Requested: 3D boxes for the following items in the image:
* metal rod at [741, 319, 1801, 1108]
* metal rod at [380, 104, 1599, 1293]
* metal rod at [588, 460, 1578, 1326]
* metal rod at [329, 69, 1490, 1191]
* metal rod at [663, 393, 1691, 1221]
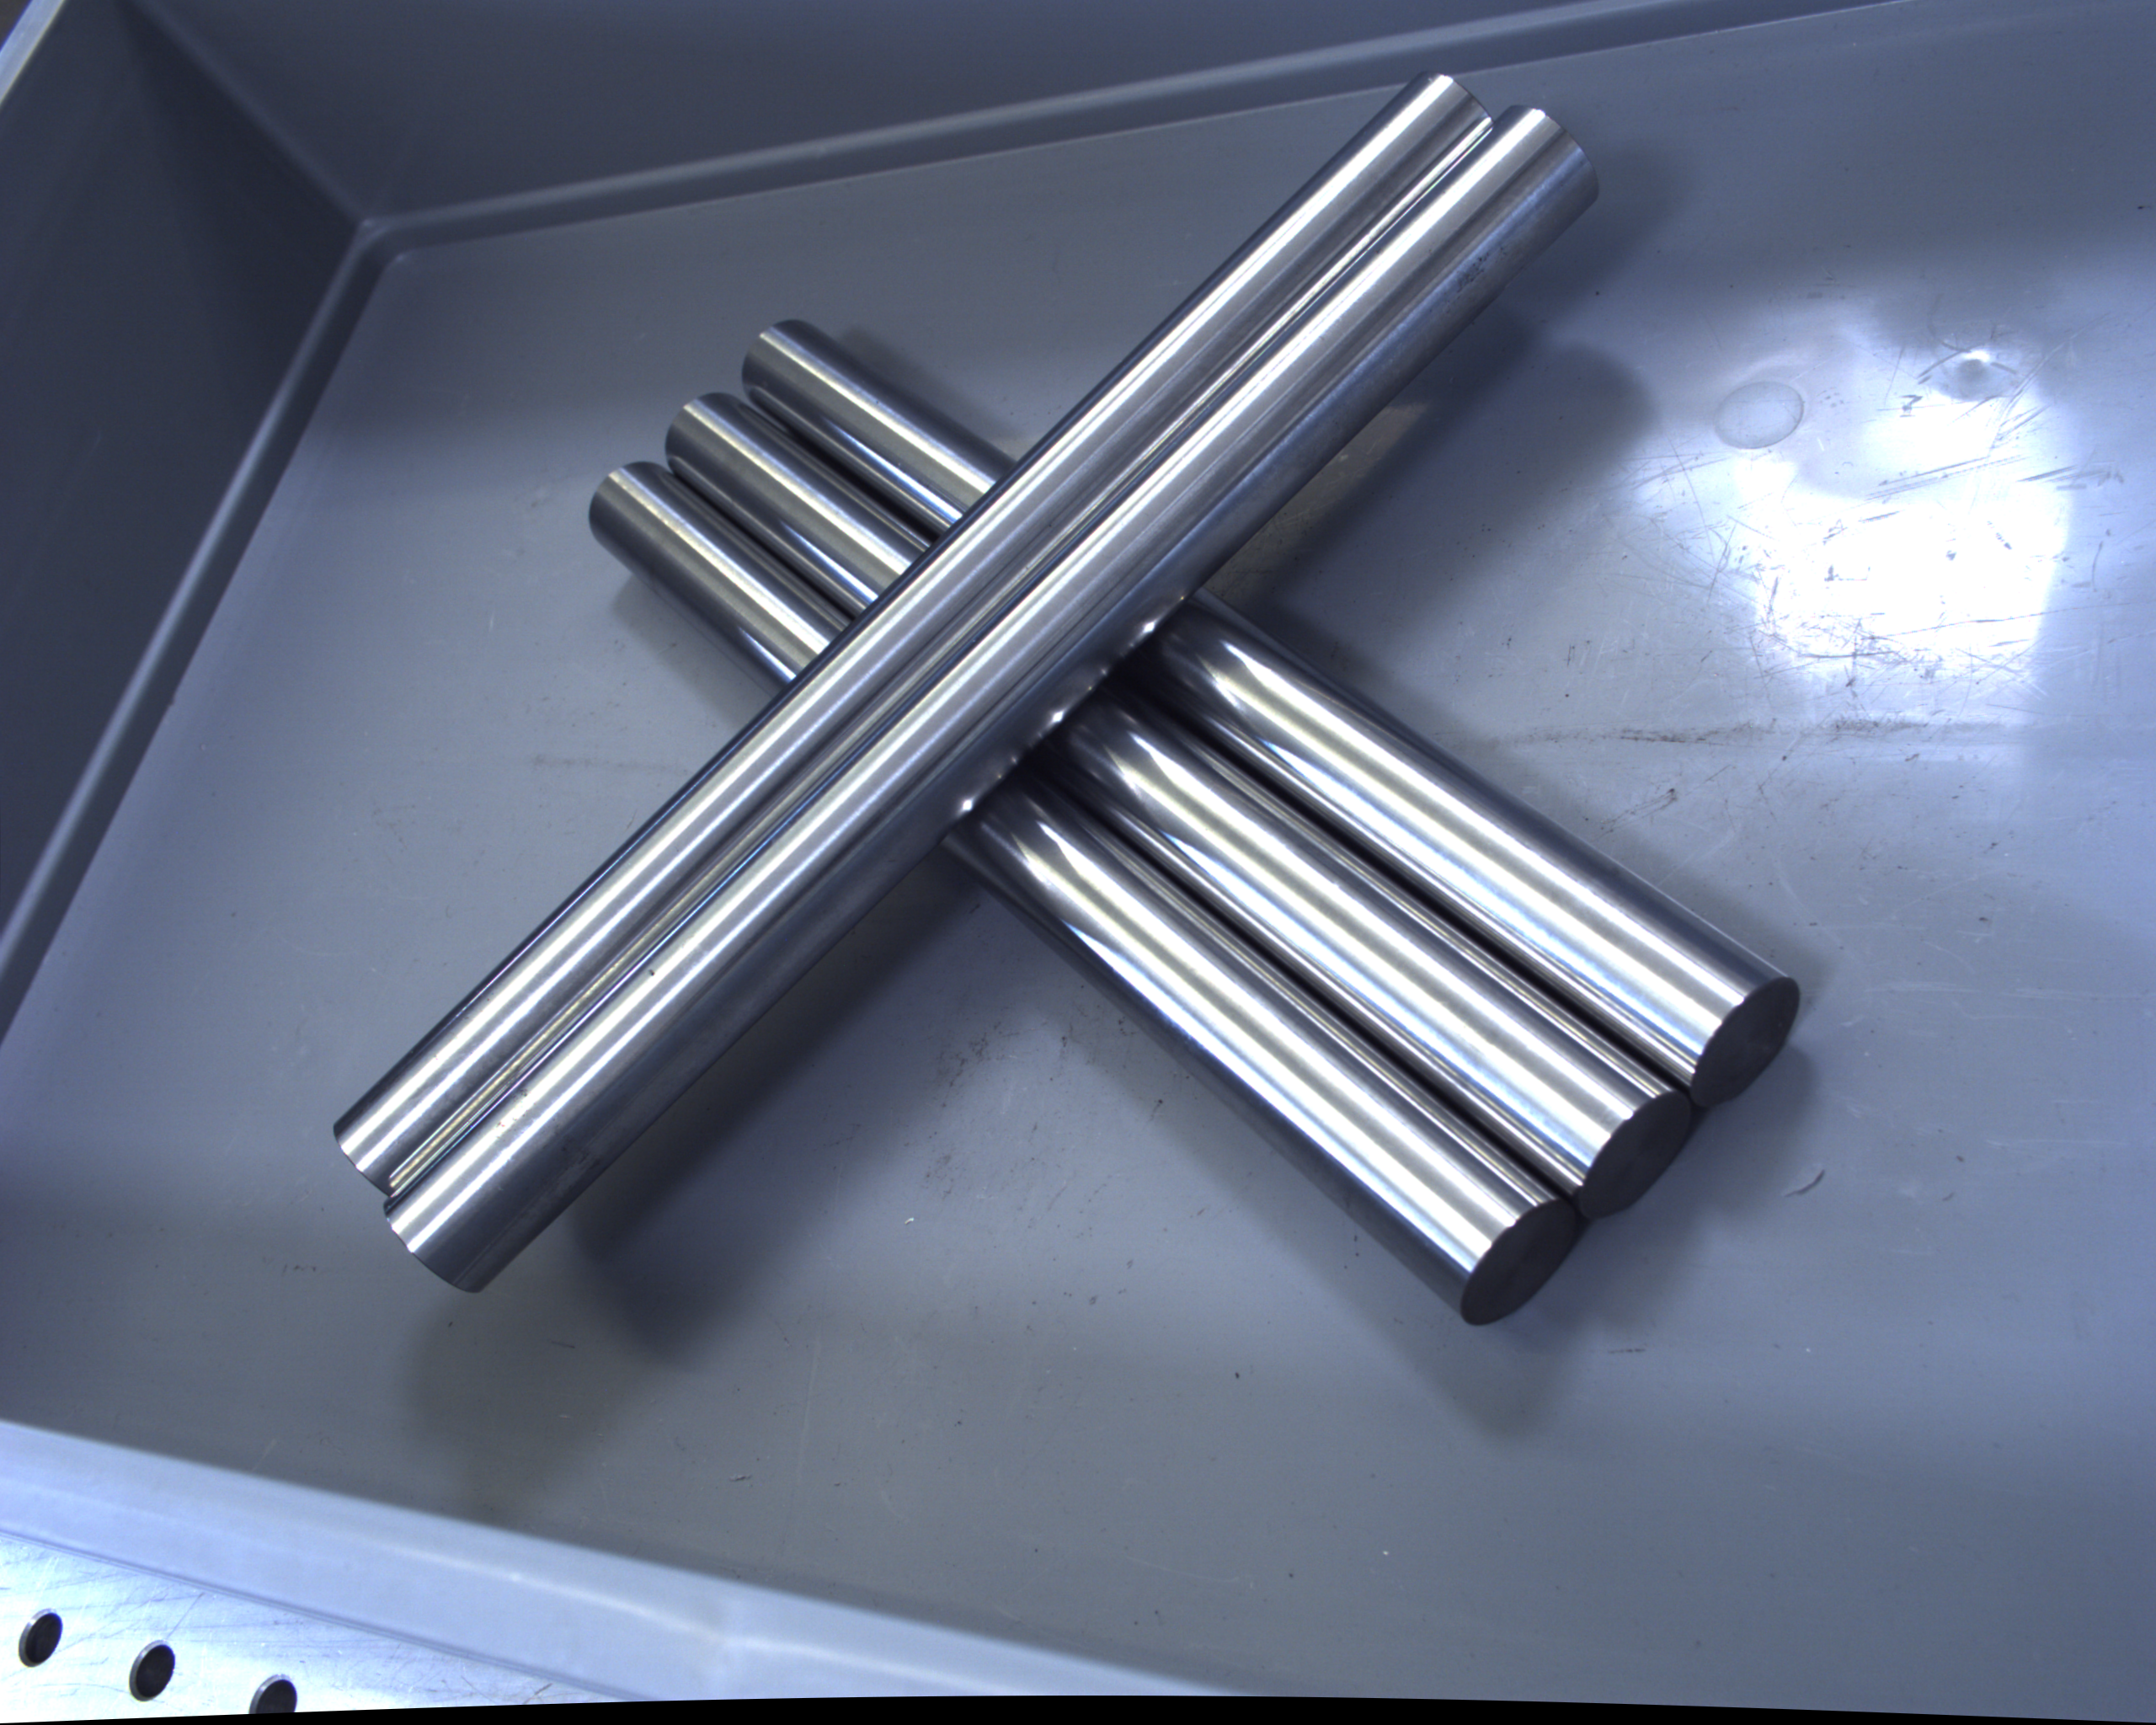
[{"bbox_3d":[0.017,-0.047,0.424,0.025,0.025,0.300,-46,51,-4],"label":"metal rod"},{"bbox_3d":[-0.014,-0.033,0.400,0.300,0.025,0.025,-44,51,-3],"label":"metal rod"},{"bbox_3d":[-0.020,-0.012,0.422,0.025,0.025,0.300,-47,51,-4],"label":"metal rod"},{"bbox_3d":[-0.030,-0.046,0.416,0.300,0.025,0.025,-44,51,-3],"label":"metal rod"},{"bbox_3d":[-0.002,-0.029,0.422,0.025,0.025,0.300,-47,51,-4],"label":"metal rod"}]
